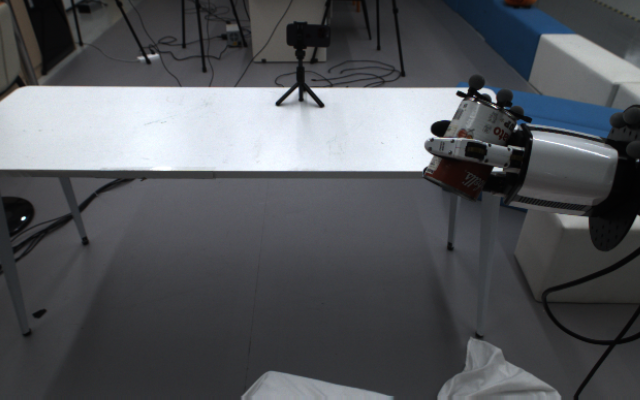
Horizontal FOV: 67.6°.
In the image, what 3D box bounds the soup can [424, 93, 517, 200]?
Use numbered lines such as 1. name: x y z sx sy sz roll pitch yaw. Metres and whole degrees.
1. soup can: 0.173 -0.057 0.554 0.067 0.101 0.067 26 5 -3
